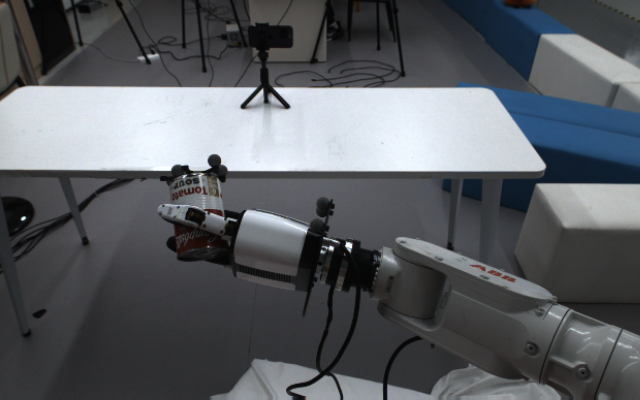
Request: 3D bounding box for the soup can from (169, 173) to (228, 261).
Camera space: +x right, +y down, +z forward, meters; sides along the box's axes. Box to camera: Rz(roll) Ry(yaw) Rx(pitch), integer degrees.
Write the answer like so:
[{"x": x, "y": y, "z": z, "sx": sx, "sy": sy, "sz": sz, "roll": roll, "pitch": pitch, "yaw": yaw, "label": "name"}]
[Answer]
[{"x": -0.158, "y": 0.024, "z": 0.634, "sx": 0.067, "sy": 0.067, "sz": 0.101, "roll": -8, "pitch": 74, "yaw": -14, "label": "soup can"}]
